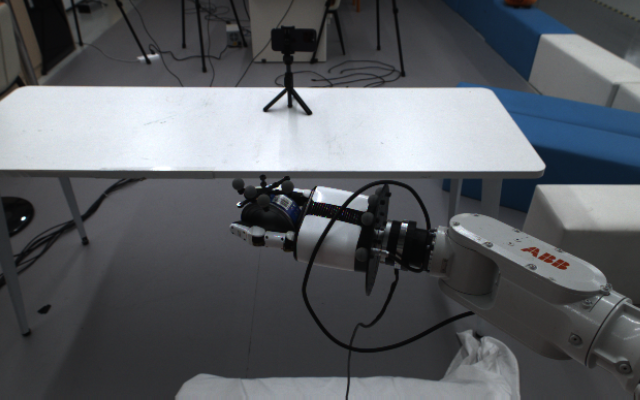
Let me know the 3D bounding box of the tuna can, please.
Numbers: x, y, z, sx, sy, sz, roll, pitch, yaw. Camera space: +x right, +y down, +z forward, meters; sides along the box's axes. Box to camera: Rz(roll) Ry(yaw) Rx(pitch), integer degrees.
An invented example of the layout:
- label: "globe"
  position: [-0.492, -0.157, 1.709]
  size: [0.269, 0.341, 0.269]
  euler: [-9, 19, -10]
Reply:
- label: "tuna can"
  position: [-0.068, 0.028, 0.705]
  size: [0.085, 0.085, 0.034]
  euler: [14, 40, 16]
